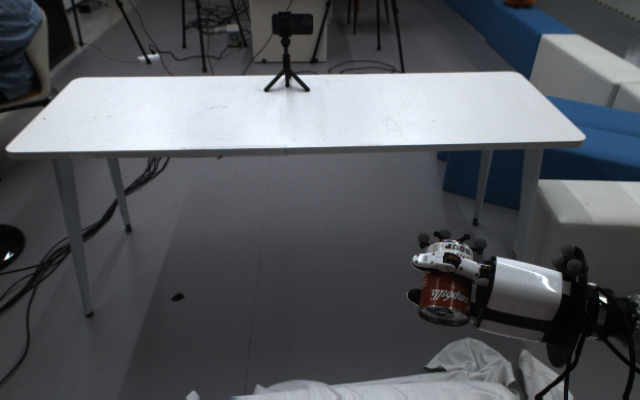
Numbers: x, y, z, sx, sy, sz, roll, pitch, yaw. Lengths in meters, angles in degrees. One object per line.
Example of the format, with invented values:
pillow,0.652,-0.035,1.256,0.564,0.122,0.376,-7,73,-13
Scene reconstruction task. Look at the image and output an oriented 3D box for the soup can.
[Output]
soup can,0.177,0.113,0.667,0.067,0.067,0.101,9,58,10
